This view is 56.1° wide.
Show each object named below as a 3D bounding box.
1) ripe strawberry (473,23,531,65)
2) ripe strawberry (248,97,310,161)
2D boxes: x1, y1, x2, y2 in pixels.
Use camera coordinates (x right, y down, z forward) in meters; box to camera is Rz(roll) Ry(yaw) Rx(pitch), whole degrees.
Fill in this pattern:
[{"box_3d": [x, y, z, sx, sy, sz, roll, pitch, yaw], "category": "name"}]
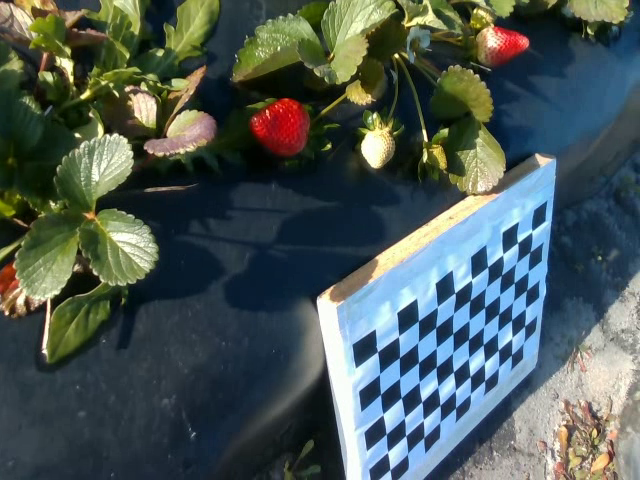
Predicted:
[{"box_3d": [0.137, -0.149, 0.458, 0.045, 0.042, 0.037, -2, -42, 27], "category": "ripe strawberry"}, {"box_3d": [-0.027, -0.069, 0.355, 0.036, 0.044, 0.053, 25, 18, 36], "category": "ripe strawberry"}]
